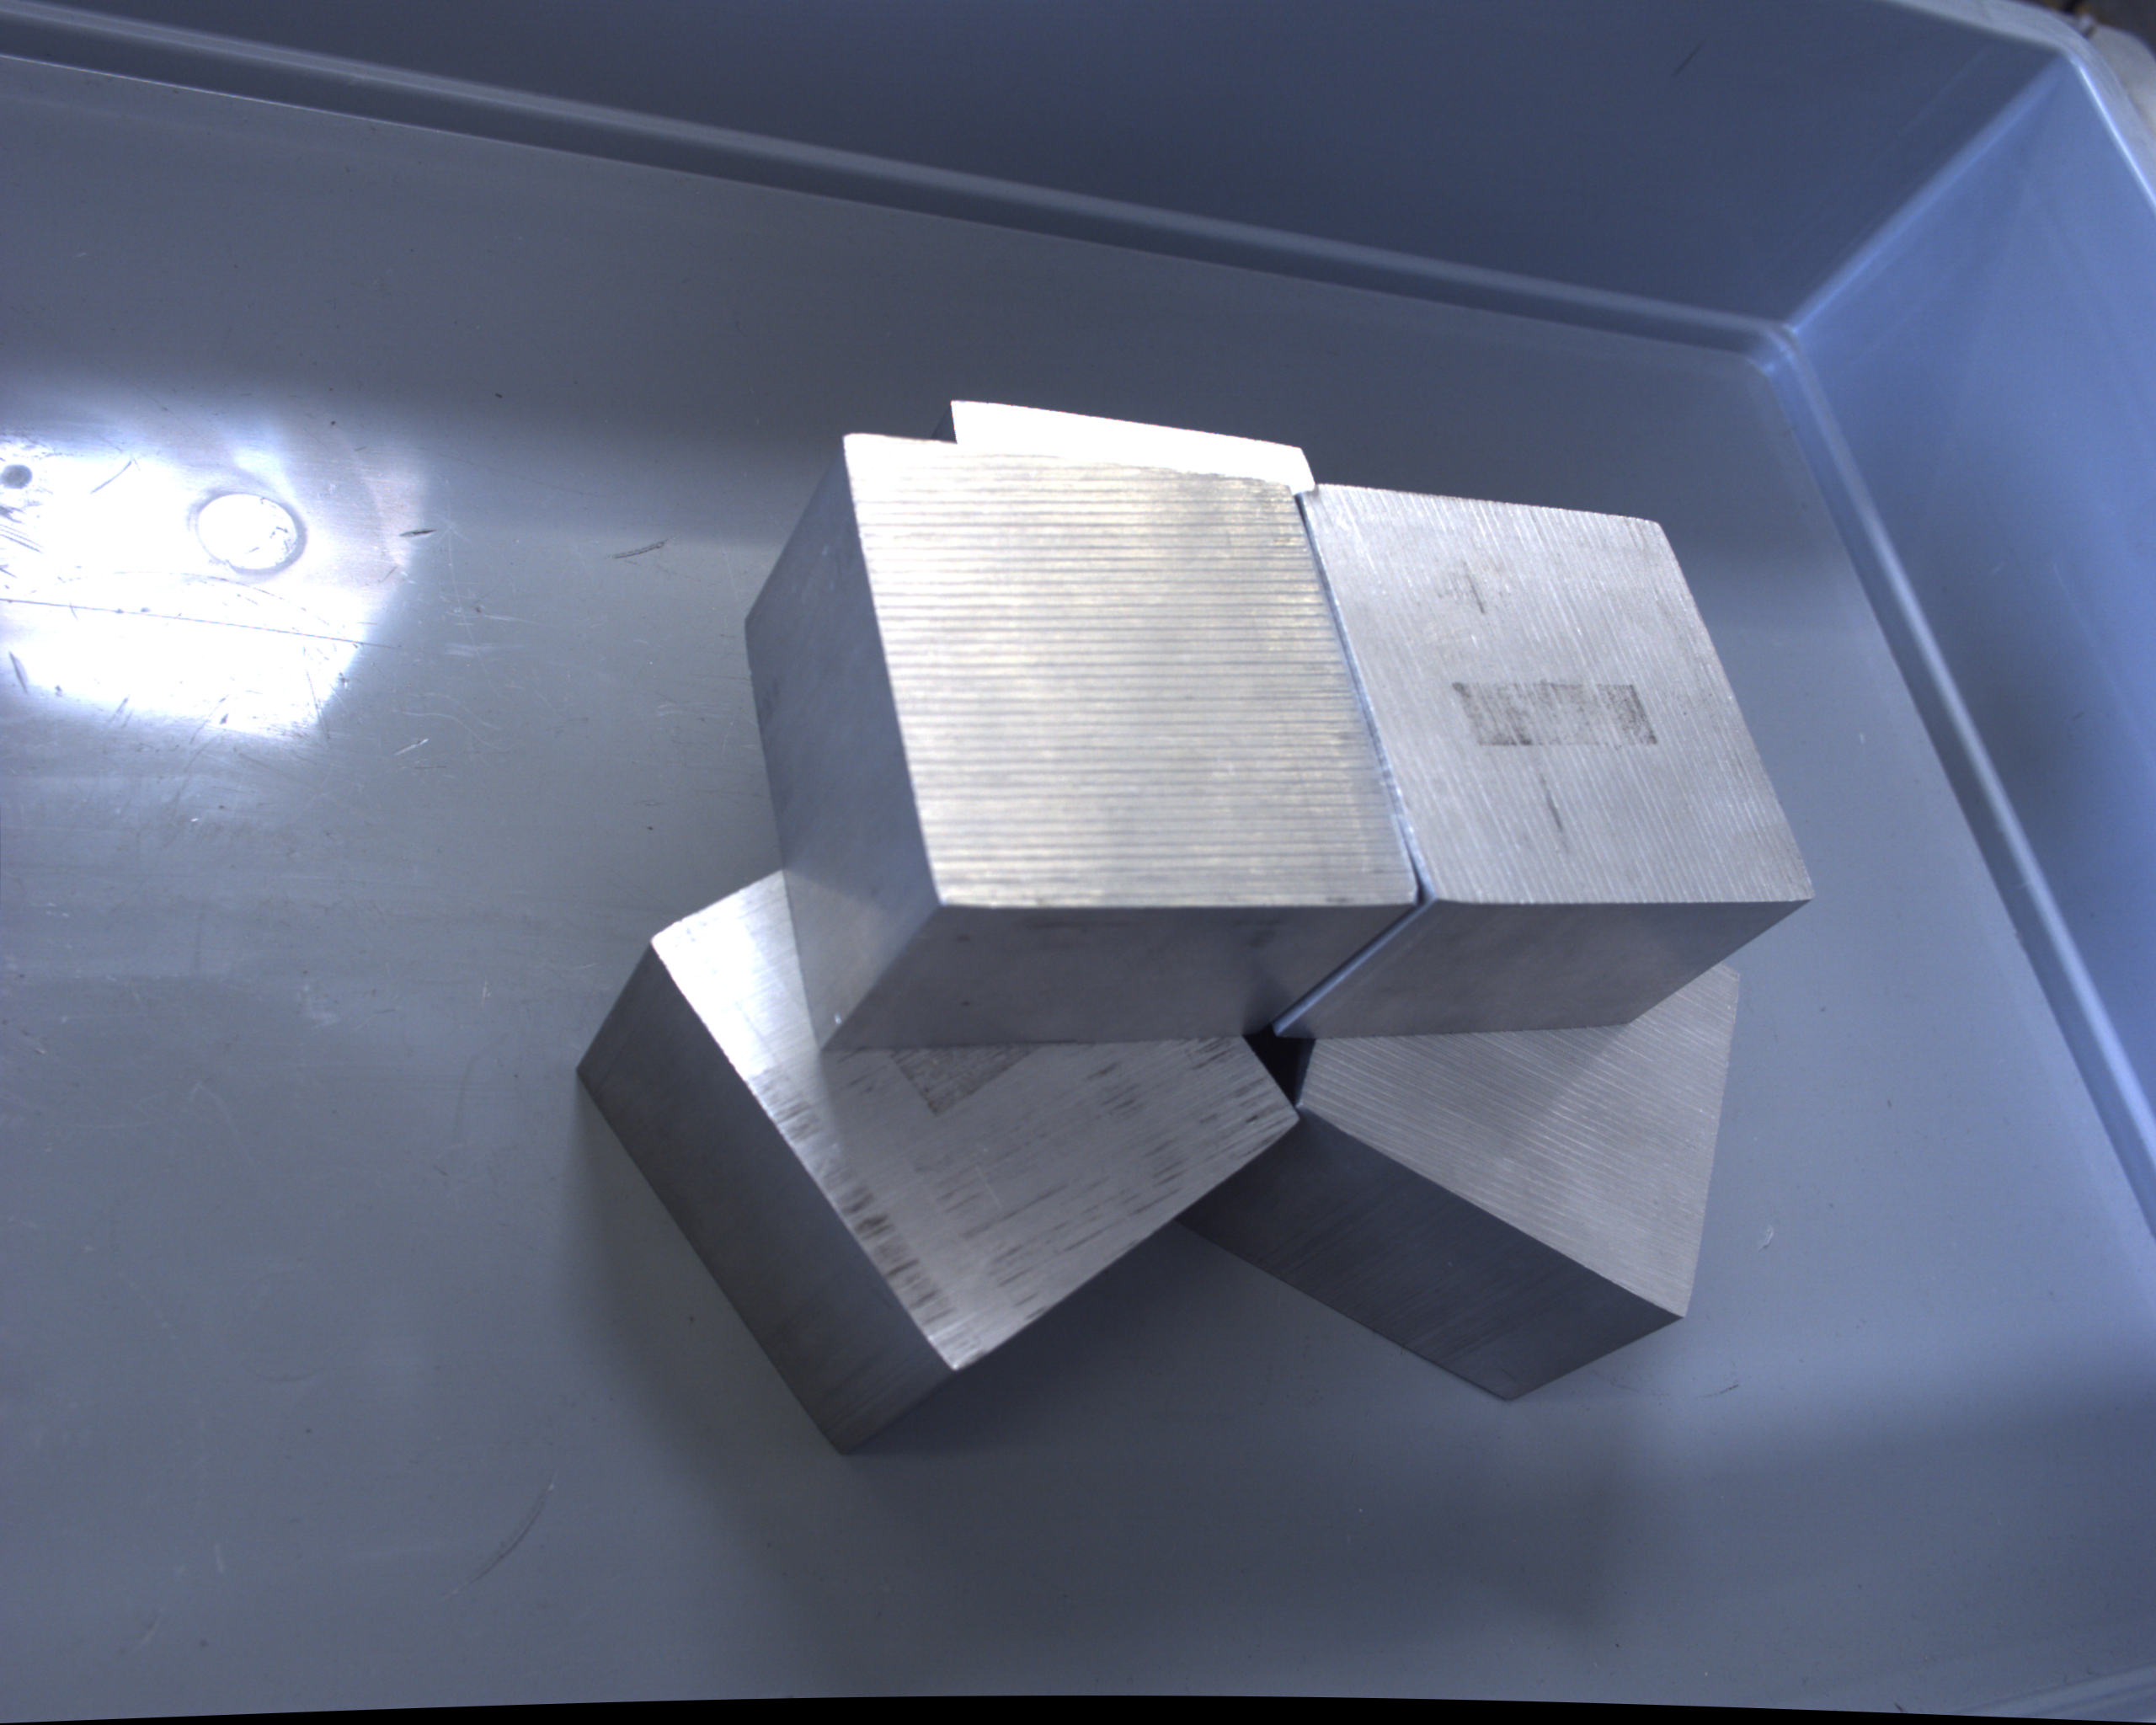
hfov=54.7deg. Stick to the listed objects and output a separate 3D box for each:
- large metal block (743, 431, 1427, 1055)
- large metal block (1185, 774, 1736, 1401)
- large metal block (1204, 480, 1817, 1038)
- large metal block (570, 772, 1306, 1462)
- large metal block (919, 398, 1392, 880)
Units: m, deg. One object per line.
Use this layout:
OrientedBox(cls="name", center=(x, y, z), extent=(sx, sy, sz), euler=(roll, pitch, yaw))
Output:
OrientedBox(cls="large metal block", center=(-0.002, -0.017, 0.333), extent=(0.081, 0.050, 0.080), euler=(1, 62, -28))
OrientedBox(cls="large metal block", center=(0.072, 0.043, 0.399), extent=(0.080, 0.050, 0.080), euler=(30, 52, -9))
OrientedBox(cls="large metal block", center=(0.070, -0.017, 0.369), extent=(0.081, 0.050, 0.080), euler=(1, 62, -28))
OrientedBox(cls="large metal block", center=(-0.024, 0.039, 0.351), extent=(0.081, 0.050, 0.080), euler=(-29, 78, -37))
OrientedBox(cls="large metal block", center=(0.008, -0.041, 0.417), extent=(0.081, 0.050, 0.080), euler=(1, 61, -28))
